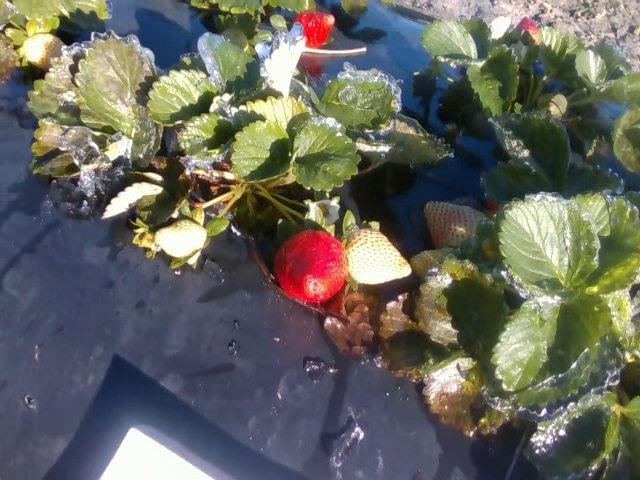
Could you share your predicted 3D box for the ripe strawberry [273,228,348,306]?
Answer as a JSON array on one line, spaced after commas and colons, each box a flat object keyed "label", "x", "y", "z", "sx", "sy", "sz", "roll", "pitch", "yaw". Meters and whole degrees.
[{"label": "ripe strawberry", "x": -0.004, "y": 0.016, "z": 0.287, "sx": 0.040, "sy": 0.042, "sz": 0.053, "roll": -9, "pitch": 14, "yaw": 2}]
